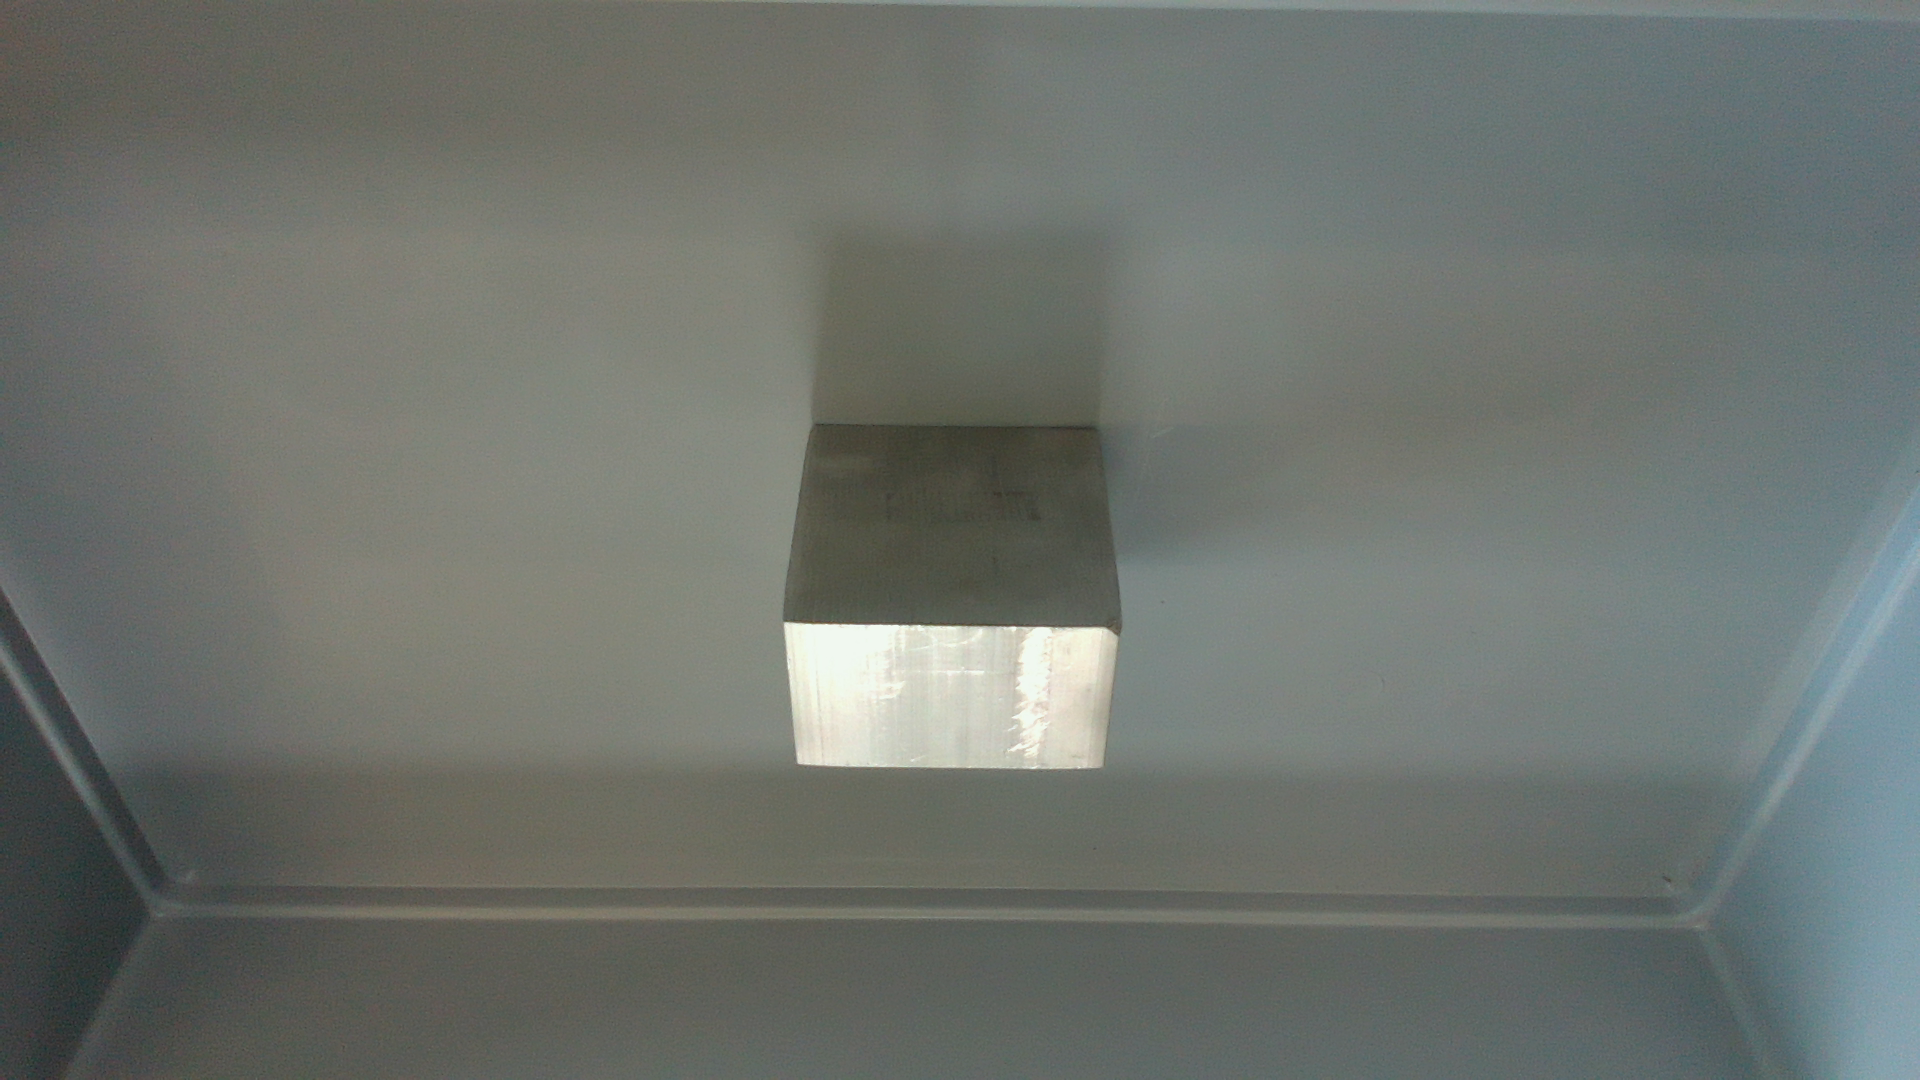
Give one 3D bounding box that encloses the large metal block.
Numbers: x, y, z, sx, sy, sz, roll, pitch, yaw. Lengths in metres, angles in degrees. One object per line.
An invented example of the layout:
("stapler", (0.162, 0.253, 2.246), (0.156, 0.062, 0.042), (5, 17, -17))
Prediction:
("large metal block", (-0.002, 0.013, 0.363), (0.080, 0.080, 0.050), (1, 130, -1))
